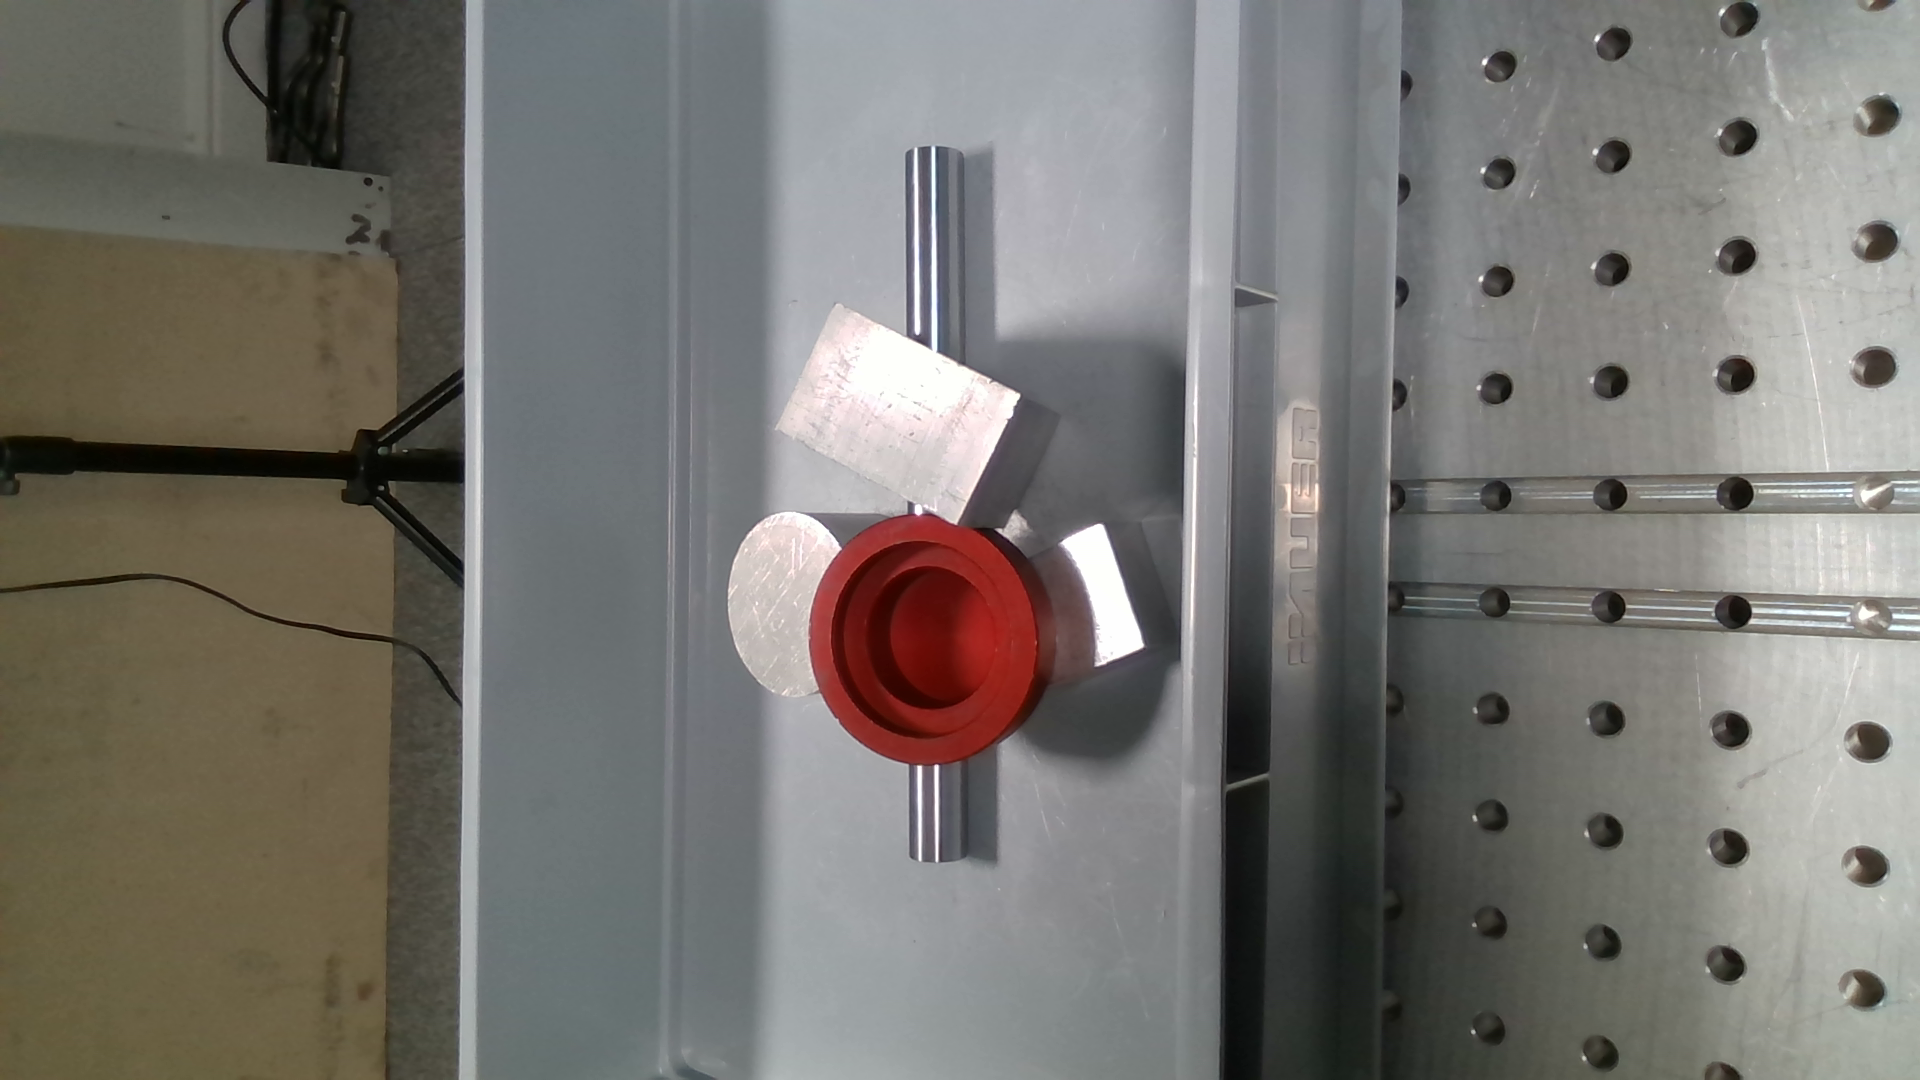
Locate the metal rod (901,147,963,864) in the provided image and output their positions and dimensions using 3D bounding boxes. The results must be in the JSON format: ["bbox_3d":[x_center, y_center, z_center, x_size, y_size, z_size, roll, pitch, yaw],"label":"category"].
[{"bbox_3d":[-0.012,-0.014,0.589,0.025,0.025,0.300,0,90,40],"label":"metal rod"}]

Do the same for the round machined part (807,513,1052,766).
[{"bbox_3d":[-0.009,0.039,0.552,0.098,0.042,0.098,0,90,23],"label":"round machined part"}]

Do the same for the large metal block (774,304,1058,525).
[{"bbox_3d":[-0.013,-0.046,0.536,0.080,0.080,0.050,27,97,13],"label":"large metal block"}]

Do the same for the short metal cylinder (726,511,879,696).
[{"bbox_3d":[-0.059,0.027,0.613,0.080,0.050,0.080,0,91,40],"label":"short metal cylinder"}]

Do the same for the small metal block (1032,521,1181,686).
[{"bbox_3d":[0.052,0.025,0.538,0.050,0.025,0.050,-27,73,37],"label":"small metal block"}]
